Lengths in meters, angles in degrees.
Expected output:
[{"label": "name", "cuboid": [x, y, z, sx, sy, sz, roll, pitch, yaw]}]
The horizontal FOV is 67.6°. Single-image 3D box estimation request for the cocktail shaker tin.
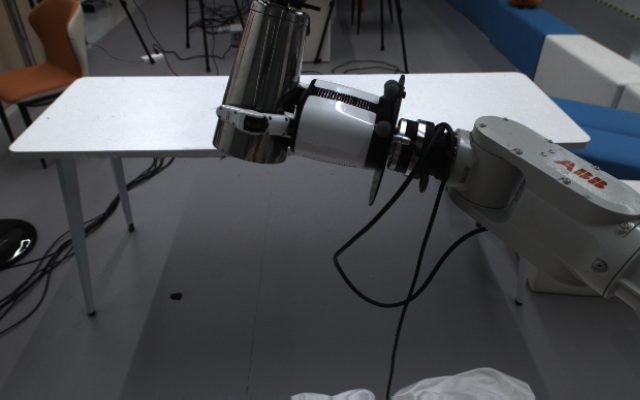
[{"label": "cocktail shaker tin", "cuboid": [-0.064, -0.138, 0.568, 0.093, 0.170, 0.093, 14, 20, -5]}]
